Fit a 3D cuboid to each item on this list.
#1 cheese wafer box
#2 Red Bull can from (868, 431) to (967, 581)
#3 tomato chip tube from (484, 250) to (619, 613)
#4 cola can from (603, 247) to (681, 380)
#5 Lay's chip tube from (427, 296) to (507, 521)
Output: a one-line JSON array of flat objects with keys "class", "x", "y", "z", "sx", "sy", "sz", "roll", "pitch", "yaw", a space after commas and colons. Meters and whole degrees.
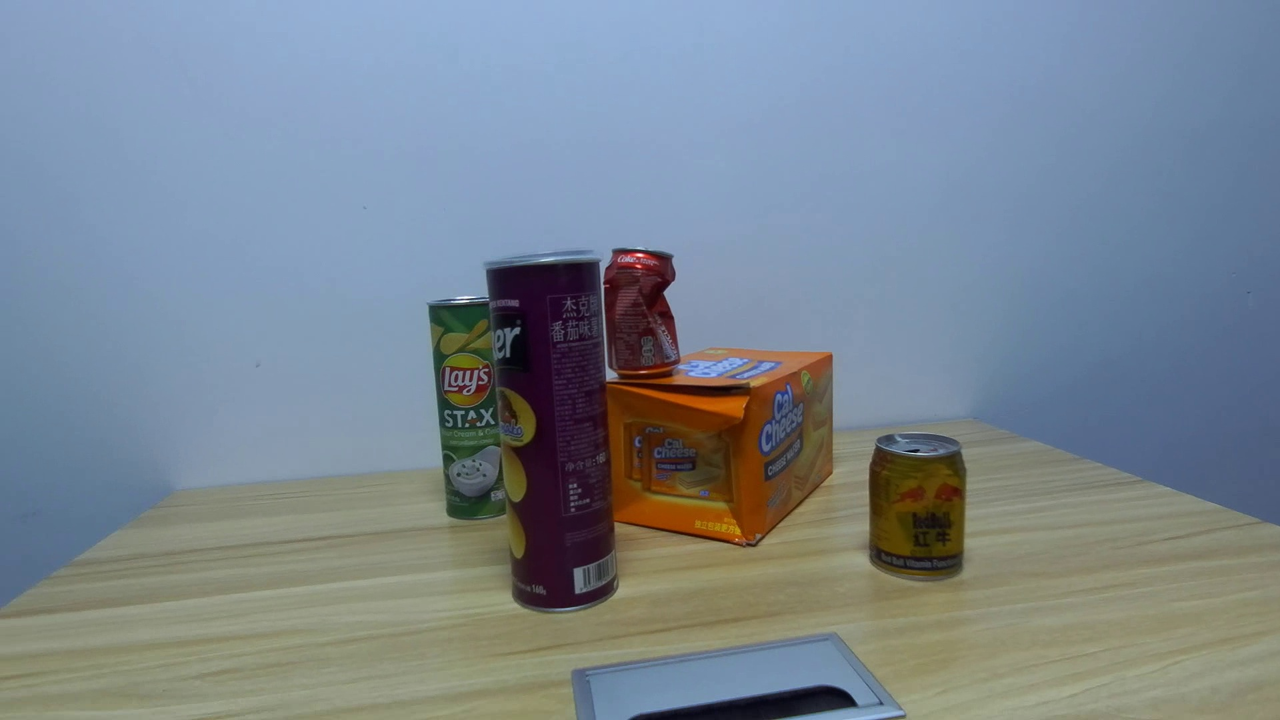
[{"class": "cheese wafer box", "x": 0.083, "y": 0.065, "z": 0.671, "sx": 0.149, "sy": 0.137, "sz": 0.228, "roll": 4, "pitch": 10, "yaw": 31}, {"class": "Red Bull can", "x": 0.201, "y": 0.105, "z": 0.515, "sx": 0.069, "sy": 0.092, "sz": 0.069, "roll": -2, "pitch": 9, "yaw": 1}, {"class": "tomato chip tube", "x": -0.058, "y": 0.049, "z": 0.491, "sx": 0.078, "sy": 0.233, "sz": 0.078, "roll": -3, "pitch": 8, "yaw": 1}, {"class": "cola can", "x": 0.002, "y": -0.042, "z": 0.622, "sx": 0.069, "sy": 0.112, "sz": 0.065, "roll": -9, "pitch": 9, "yaw": -37}, {"class": "Lay's chip tube", "x": -0.156, "y": 0.043, "z": 0.674, "sx": 0.071, "sy": 0.202, "sz": 0.071, "roll": -2, "pitch": 8, "yaw": 1}]
